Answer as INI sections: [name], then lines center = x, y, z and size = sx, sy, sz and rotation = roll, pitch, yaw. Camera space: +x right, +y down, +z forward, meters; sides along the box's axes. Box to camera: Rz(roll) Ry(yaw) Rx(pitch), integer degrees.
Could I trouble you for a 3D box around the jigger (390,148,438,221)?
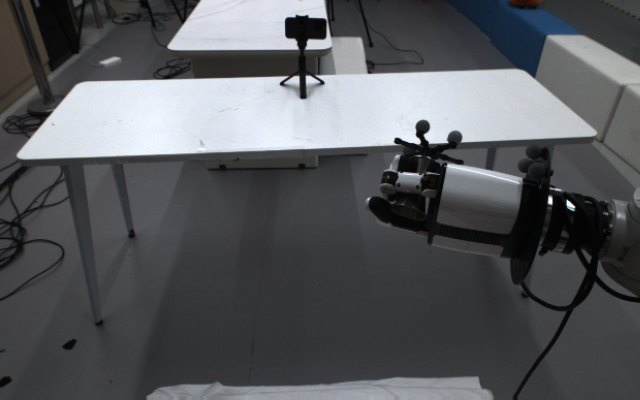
[jigger]
center = 0.117, -0.018, 0.583
size = 0.043, 0.043, 0.071
rotation = 16, 70, 19
